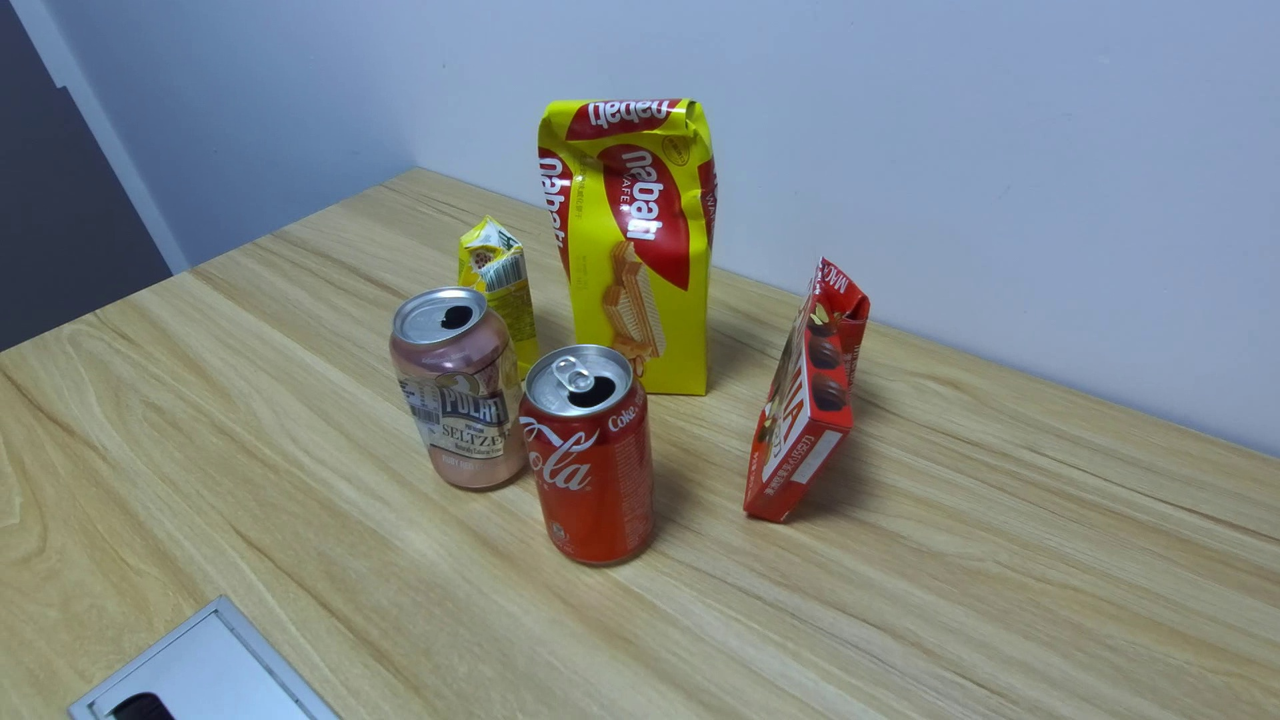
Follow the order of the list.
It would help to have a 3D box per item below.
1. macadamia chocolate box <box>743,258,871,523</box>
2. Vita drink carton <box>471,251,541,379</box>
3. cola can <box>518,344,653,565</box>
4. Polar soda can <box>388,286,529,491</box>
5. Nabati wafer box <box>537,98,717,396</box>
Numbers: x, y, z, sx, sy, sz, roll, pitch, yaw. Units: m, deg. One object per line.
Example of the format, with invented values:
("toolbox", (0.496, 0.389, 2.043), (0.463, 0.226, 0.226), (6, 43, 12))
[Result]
("macadamia chocolate box", (0.099, 0.019, 0.423), (0.056, 0.112, 0.126), (9, 41, 15))
("Vita drink carton", (-0.111, -0.041, 0.523), (0.046, 0.110, 0.071), (-22, 39, -25))
("cola can", (-0.026, 0.053, 0.391), (0.068, 0.120, 0.067), (-4, 40, 4))
("Polar soda can", (-0.108, 0.021, 0.440), (0.067, 0.122, 0.074), (-24, 42, -22))
("Nabati wafer box", (-0.003, -0.066, 0.464), (0.113, 0.205, 0.042), (1, 38, 10))
